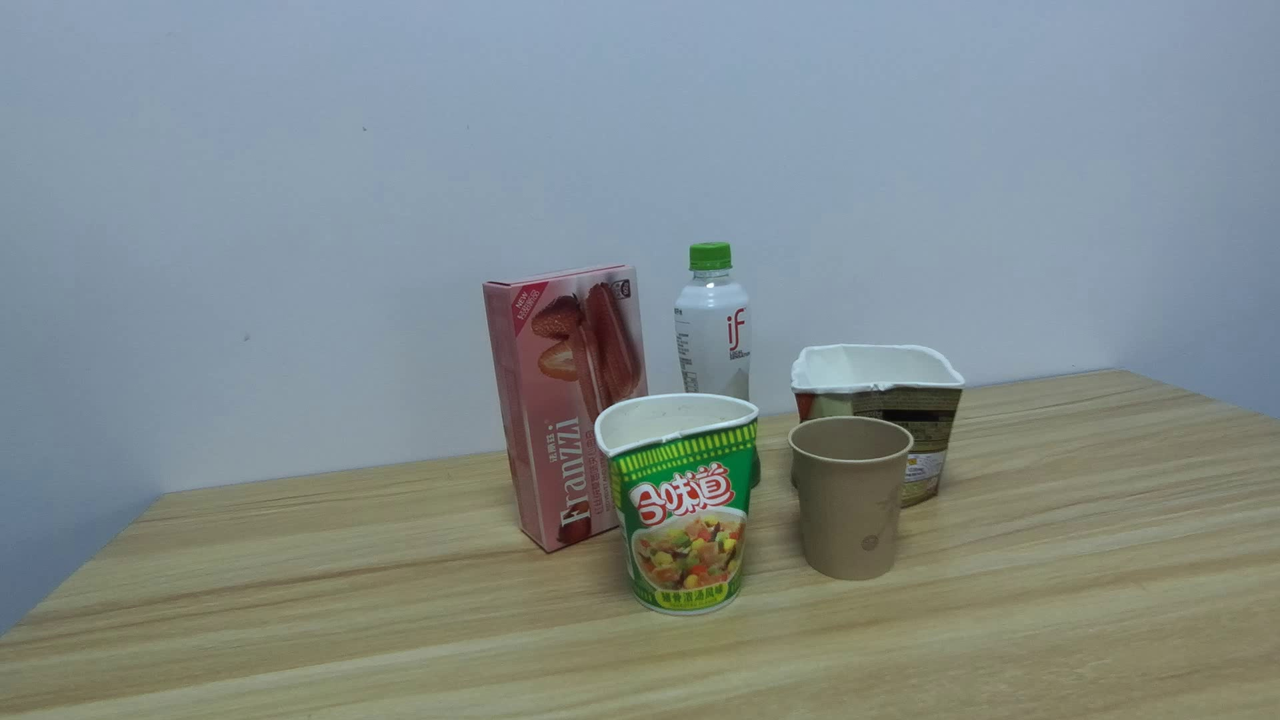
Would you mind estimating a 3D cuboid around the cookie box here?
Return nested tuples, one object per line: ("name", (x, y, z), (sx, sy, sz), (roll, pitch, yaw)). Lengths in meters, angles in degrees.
("cookie box", (-0.045, 0.030, 0.501), (0.096, 0.184, 0.048), (-14, 16, -30))

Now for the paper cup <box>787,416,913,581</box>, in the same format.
("paper cup", (0.128, 0.086, 0.435), (0.075, 0.082, 0.075), (-4, 15, 2))

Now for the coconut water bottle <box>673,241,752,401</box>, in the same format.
("coconut water bottle", (0.059, 0.007, 0.546), (0.063, 0.188, 0.063), (-4, 12, 1))

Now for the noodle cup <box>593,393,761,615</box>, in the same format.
("noodle cup", (0.026, 0.084, 0.423), (0.094, 0.109, 0.087), (-5, 16, 0))
